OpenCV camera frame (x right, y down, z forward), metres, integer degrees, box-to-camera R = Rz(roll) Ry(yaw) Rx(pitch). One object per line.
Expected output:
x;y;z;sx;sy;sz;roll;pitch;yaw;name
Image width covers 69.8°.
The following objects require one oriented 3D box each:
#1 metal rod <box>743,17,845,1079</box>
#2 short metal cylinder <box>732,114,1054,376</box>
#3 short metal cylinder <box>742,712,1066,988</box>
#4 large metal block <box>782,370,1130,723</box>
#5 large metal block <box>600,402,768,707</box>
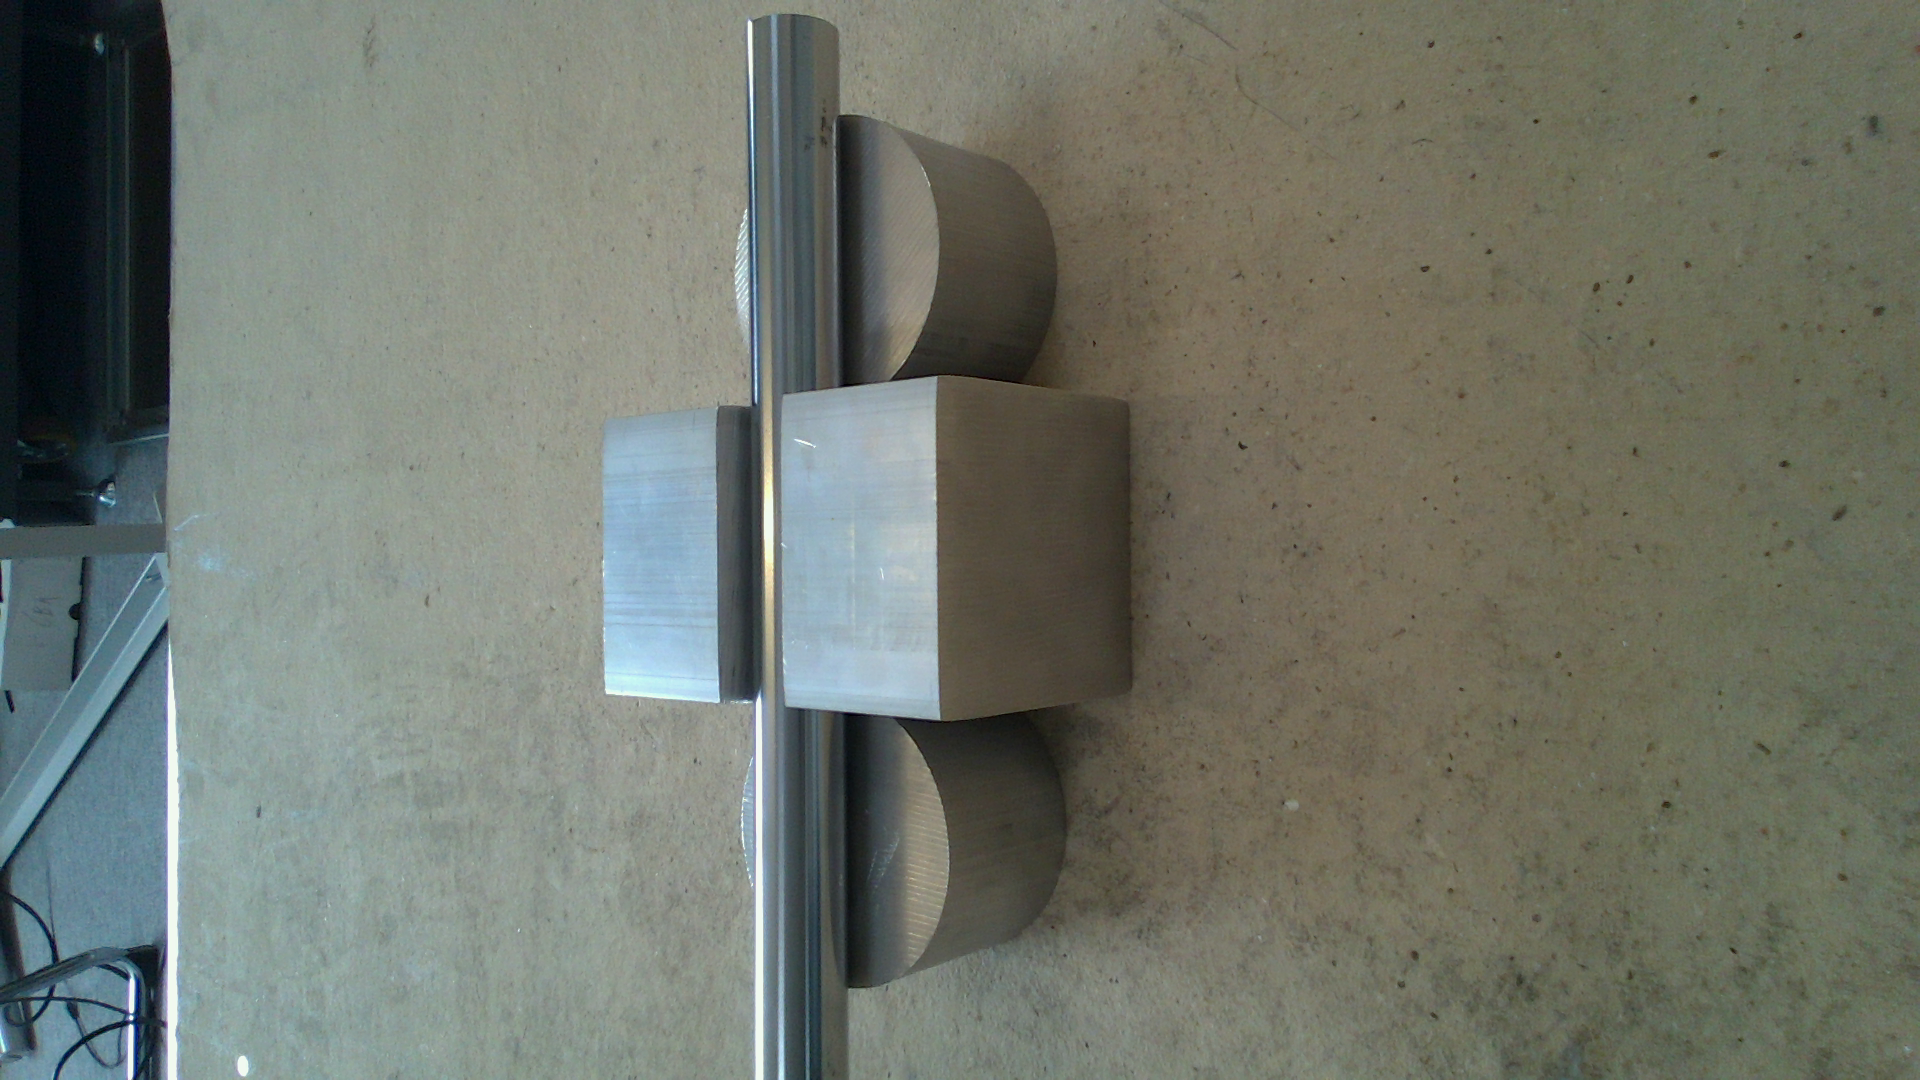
-0.044;0.015;0.366;0.025;0.025;0.300;-1;89;40;metal rod
-0.020;-0.076;0.395;0.080;0.050;0.080;-1;89;40;short metal cylinder
-0.017;0.081;0.394;0.080;0.050;0.080;-1;89;40;short metal cylinder
0.001;0.002;0.358;0.050;0.080;0.080;-1;89;40;large metal block
-0.058;0.004;0.407;0.050;0.080;0.080;-1;89;40;large metal block
